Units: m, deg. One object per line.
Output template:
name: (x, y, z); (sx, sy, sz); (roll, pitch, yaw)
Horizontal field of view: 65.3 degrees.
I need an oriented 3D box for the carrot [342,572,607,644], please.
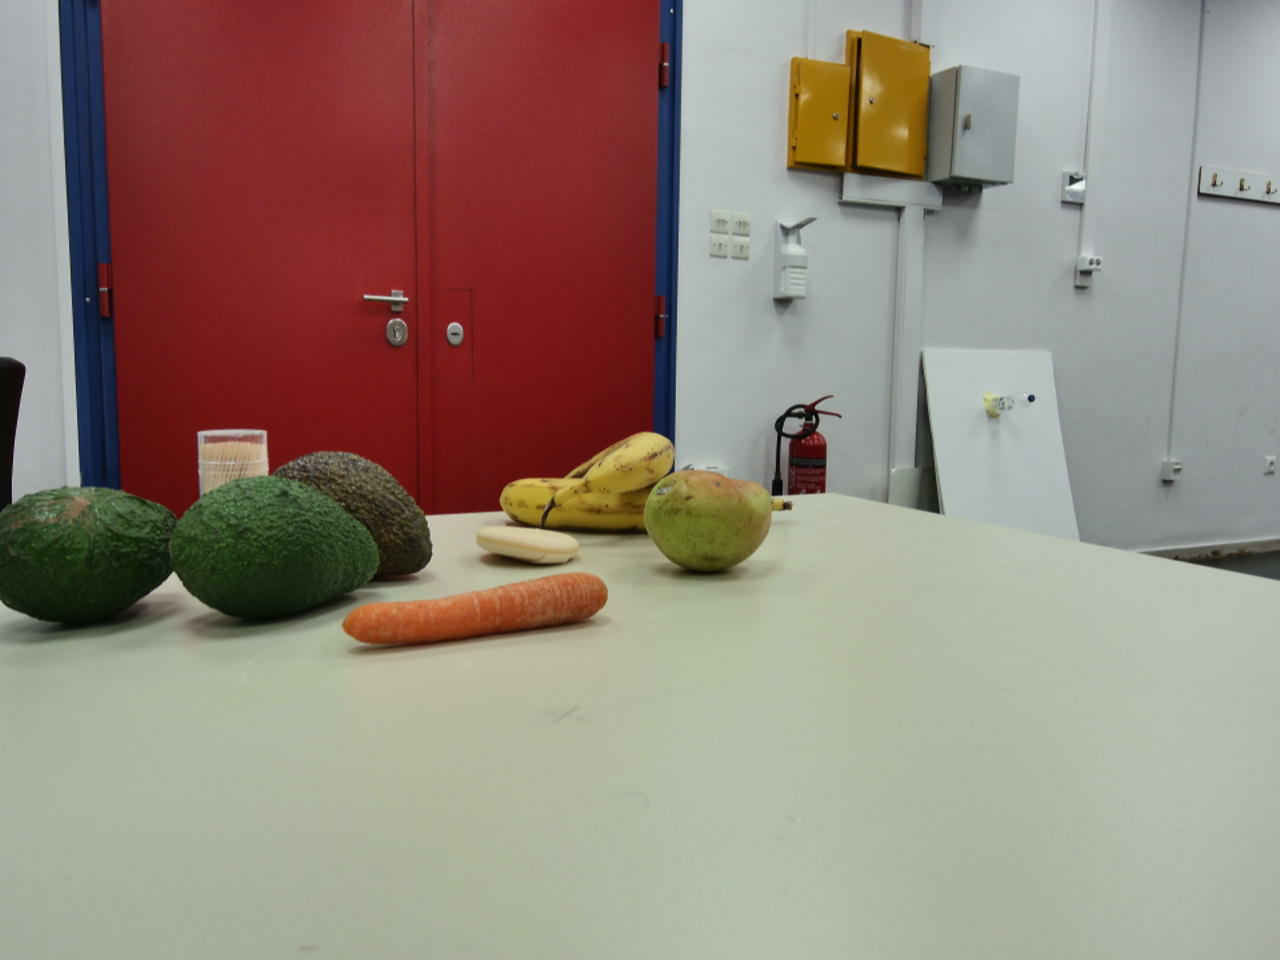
carrot: (-0.070, 0.057, 0.447); (0.122, 0.023, 0.024); (-3, 5, -29)
